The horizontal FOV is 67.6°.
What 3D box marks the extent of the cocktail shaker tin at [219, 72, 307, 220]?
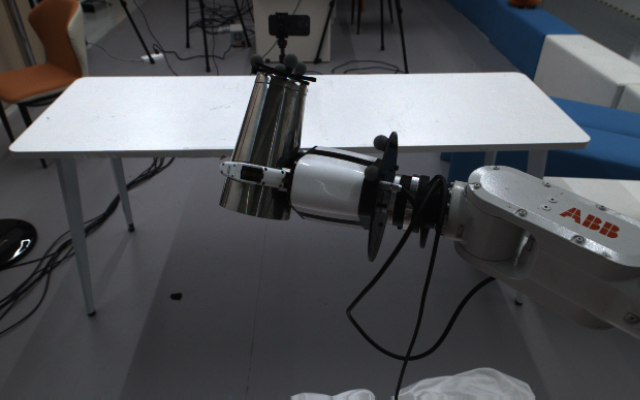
[{"bbox_3d":[-0.066,-0.067,0.617,0.093,0.170,0.093,12,4,-1],"label":"cocktail shaker tin"}]
